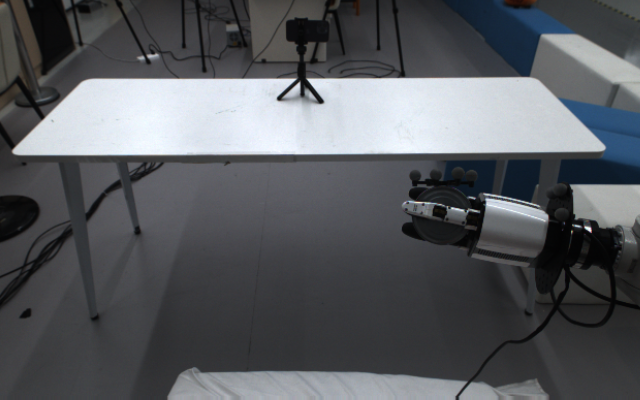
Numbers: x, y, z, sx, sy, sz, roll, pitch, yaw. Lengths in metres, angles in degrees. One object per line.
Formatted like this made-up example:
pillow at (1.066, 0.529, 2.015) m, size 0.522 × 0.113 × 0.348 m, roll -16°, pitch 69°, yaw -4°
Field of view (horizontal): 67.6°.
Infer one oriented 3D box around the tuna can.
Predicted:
tuna can at (0.179, 0.021, 0.706) m, size 0.085 × 0.085 × 0.034 m, roll 14°, pitch -3°, yaw 16°
